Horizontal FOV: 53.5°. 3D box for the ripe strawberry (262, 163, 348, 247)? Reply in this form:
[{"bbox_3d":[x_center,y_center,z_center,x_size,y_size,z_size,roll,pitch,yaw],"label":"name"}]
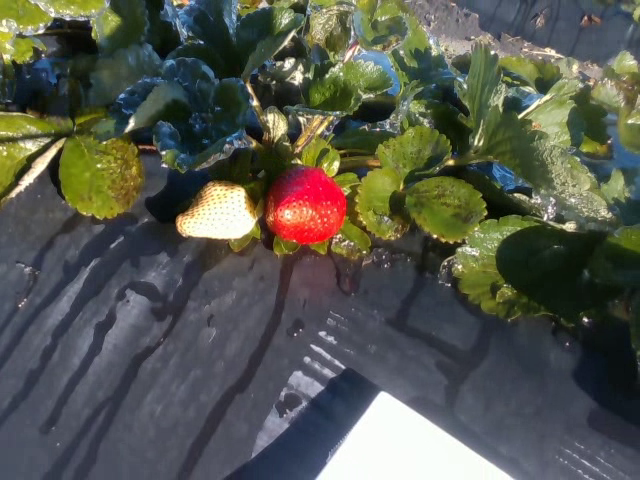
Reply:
[{"bbox_3d":[-0.011,-0.013,0.310,0.042,0.046,0.061,16,16,18],"label":"ripe strawberry"}]
